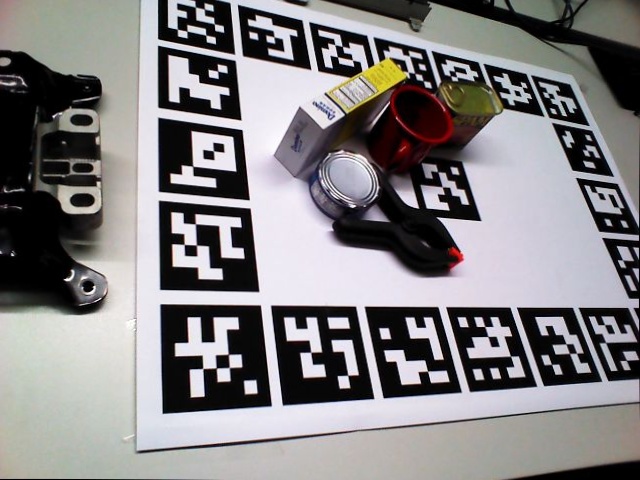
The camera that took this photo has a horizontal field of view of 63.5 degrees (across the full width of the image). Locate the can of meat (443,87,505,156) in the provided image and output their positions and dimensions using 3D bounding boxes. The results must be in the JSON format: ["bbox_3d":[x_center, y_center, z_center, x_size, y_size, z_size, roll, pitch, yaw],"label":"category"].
[{"bbox_3d":[0.206,-0.165,0.737,0.101,0.084,0.057,-5,65,-29],"label":"can of meat"}]

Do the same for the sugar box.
[{"bbox_3d":[0.037,-0.144,0.641,0.045,0.093,0.175,46,53,6],"label":"sugar box"}]

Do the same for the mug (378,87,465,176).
[{"bbox_3d":[0.125,-0.128,0.669,0.093,0.082,0.116,26,58,-11],"label":"mug"}]

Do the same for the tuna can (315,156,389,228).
[{"bbox_3d":[0.038,-0.056,0.622,0.085,0.034,0.085,10,62,-20],"label":"tuna can"}]

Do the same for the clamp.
[{"bbox_3d":[0.115,-0.001,0.634,0.165,0.037,0.121,36,50,-9],"label":"clamp"}]
